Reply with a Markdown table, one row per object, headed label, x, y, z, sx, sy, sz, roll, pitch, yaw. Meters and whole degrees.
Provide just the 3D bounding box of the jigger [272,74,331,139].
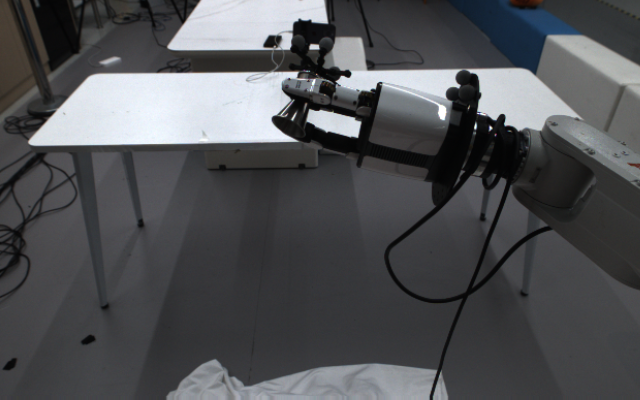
| label | x | y | z | sx | sy | sz | roll | pitch | yaw |
| --- | --- | --- | --- | --- | --- | --- | --- | --- | --- |
| jigger | -0.023 | -0.116 | 0.573 | 0.043 | 0.043 | 0.071 | 19 | 72 | 23 |
